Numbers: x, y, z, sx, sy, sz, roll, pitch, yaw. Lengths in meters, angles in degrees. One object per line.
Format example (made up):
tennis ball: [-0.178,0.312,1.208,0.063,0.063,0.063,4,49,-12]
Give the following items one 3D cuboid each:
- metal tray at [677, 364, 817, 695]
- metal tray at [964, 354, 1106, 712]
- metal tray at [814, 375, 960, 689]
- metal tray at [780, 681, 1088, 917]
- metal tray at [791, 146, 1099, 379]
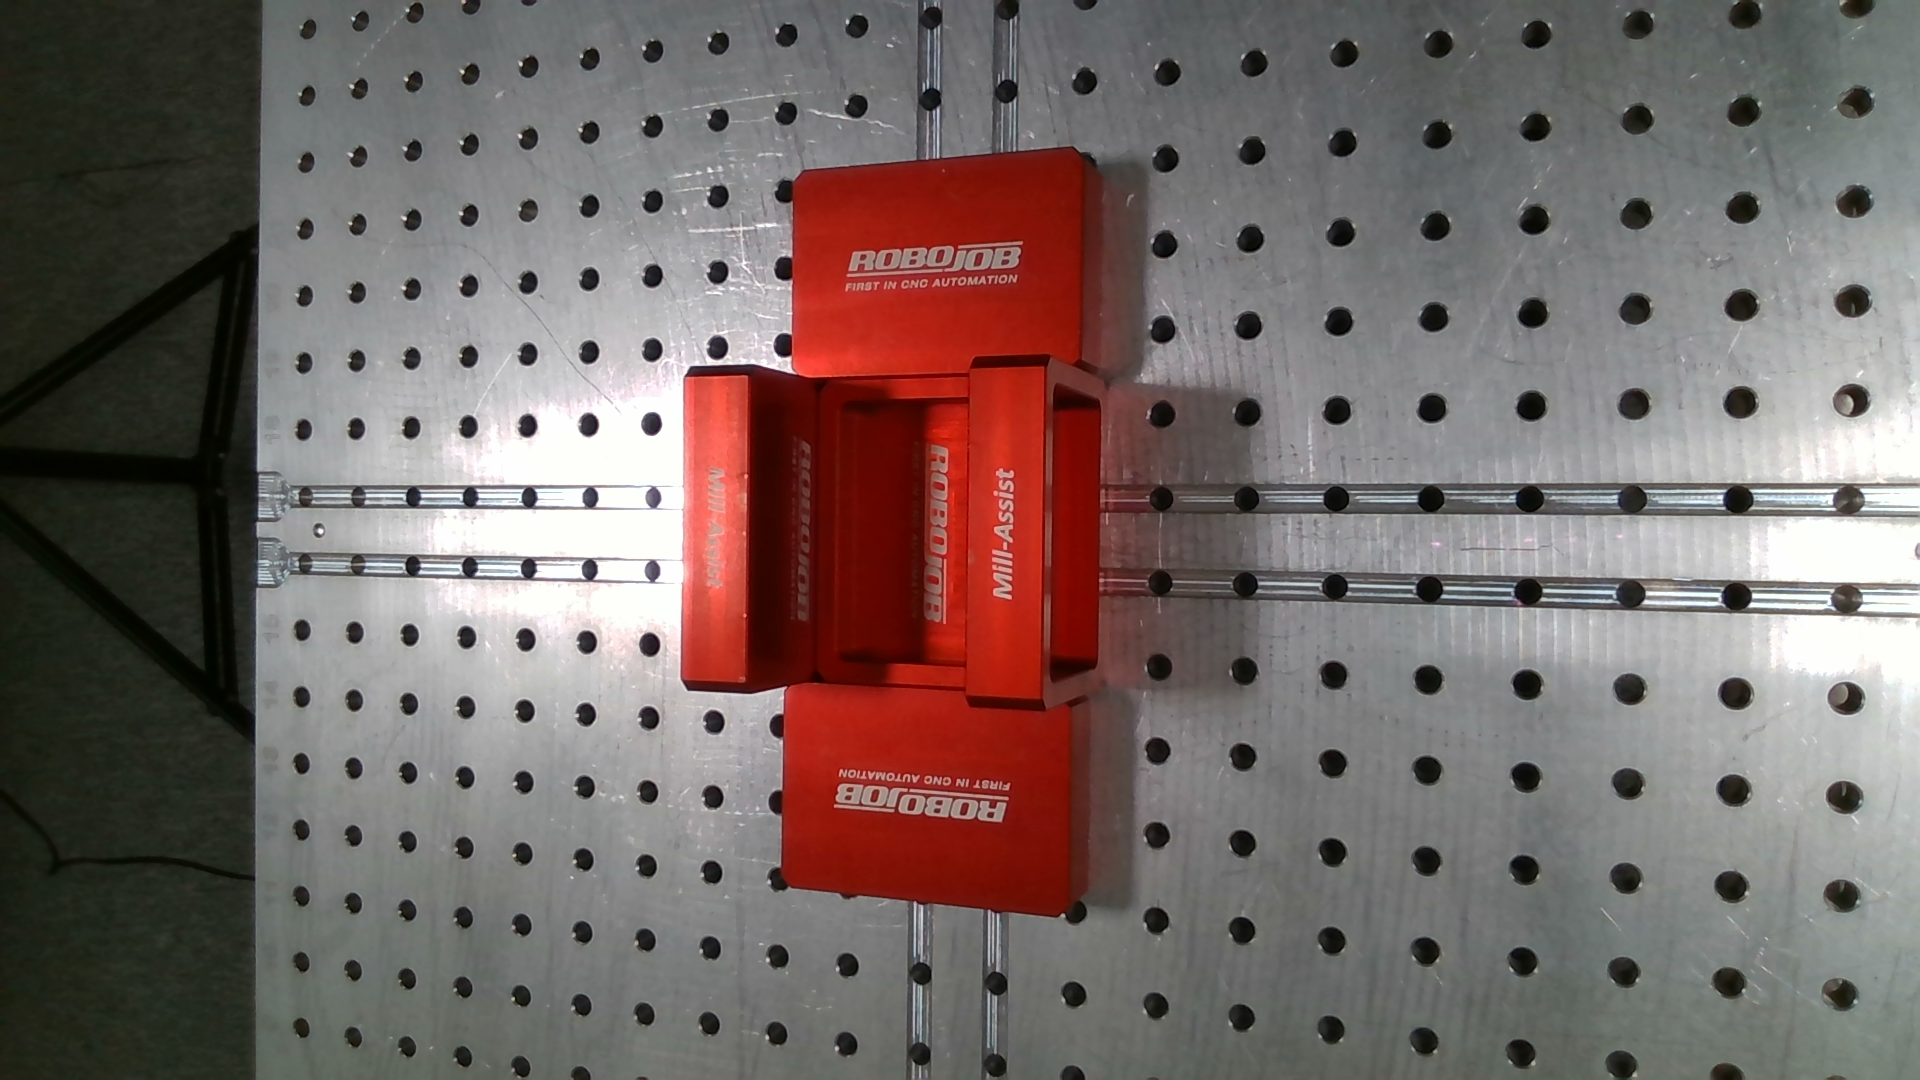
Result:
metal tray: [-0.082,-0.004,0.582,0.030,0.090,0.130,1,91,20]
metal tray: [0.031,-0.003,0.542,0.030,0.090,0.130,1,91,20]
metal tray: [-0.015,-0.003,0.589,0.090,0.030,0.130,1,91,20]
metal tray: [-0.012,0.106,0.589,0.130,0.030,0.090,1,92,20]
metal tray: [-0.007,-0.114,0.586,0.130,0.030,0.090,1,91,20]
